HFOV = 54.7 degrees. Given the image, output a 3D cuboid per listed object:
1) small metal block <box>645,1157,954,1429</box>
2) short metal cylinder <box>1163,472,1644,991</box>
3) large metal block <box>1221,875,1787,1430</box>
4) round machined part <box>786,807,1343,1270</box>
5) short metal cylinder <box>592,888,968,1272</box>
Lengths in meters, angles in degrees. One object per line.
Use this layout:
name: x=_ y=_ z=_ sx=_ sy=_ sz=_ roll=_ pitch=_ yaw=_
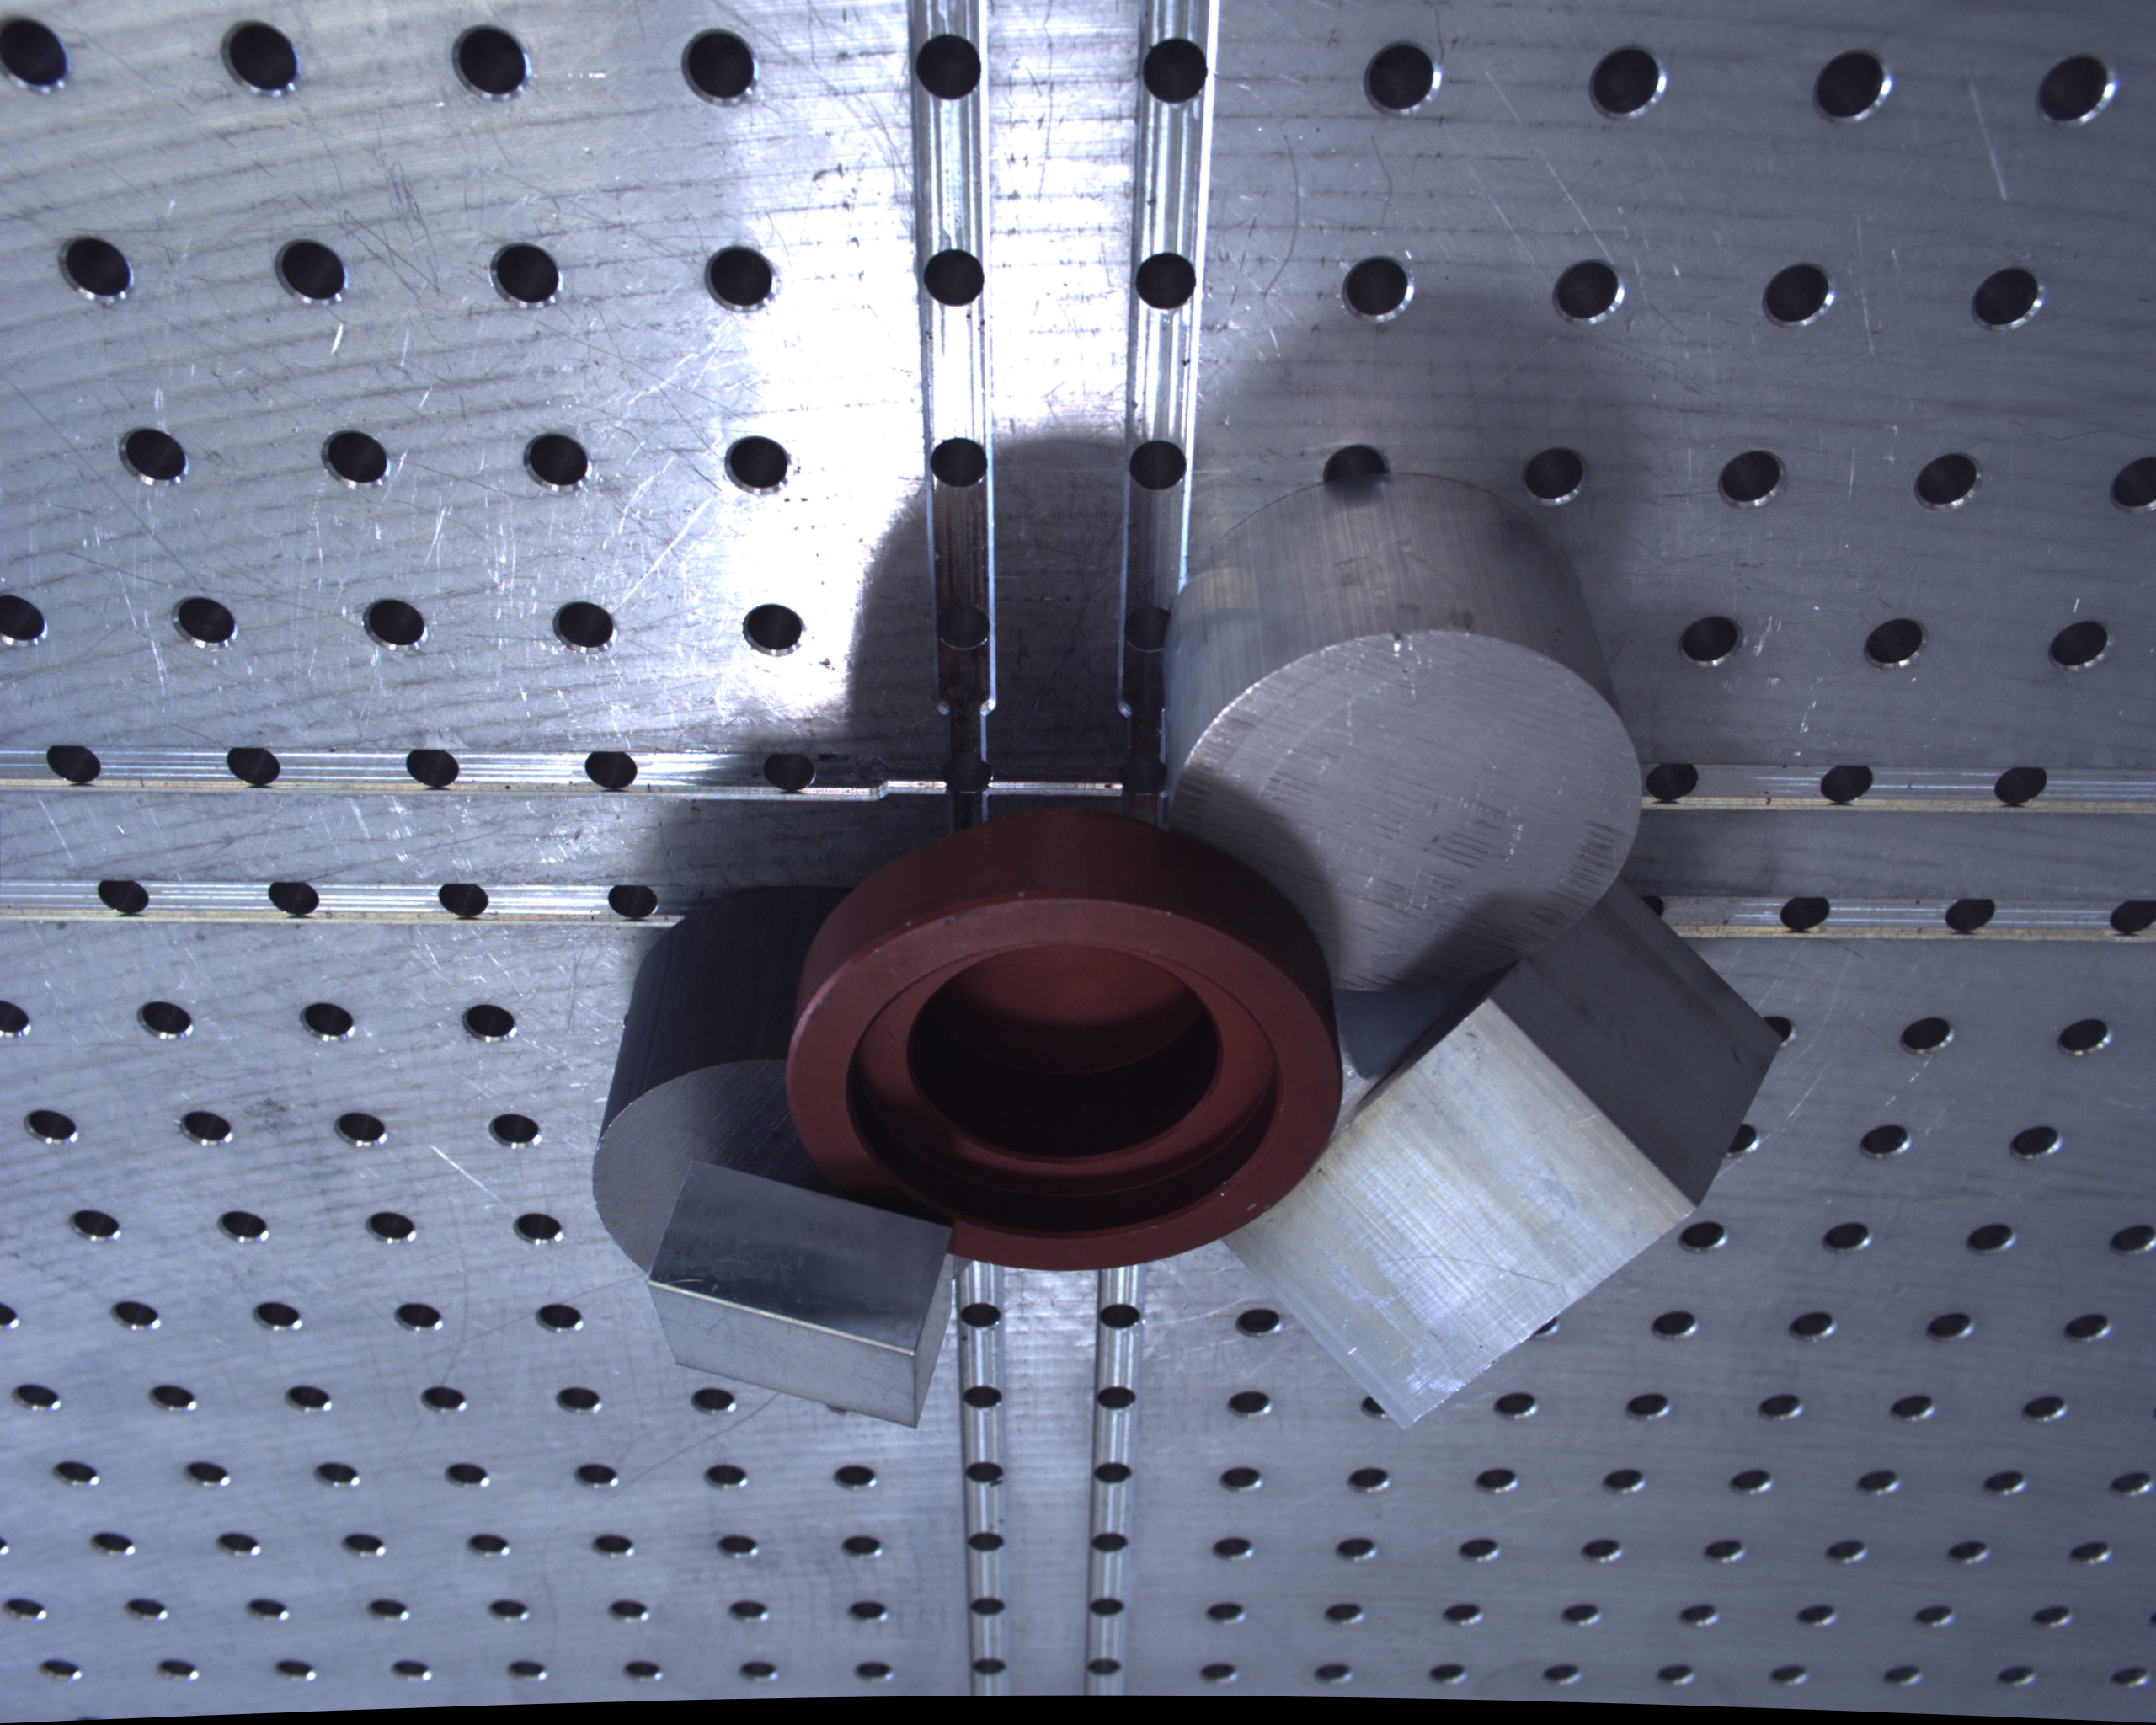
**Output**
small metal block: x=-0.052 y=0.083 z=0.400 sx=0.050 sy=0.025 sz=0.050 roll=14 pitch=149 yaw=4
short metal cylinder: x=0.056 y=-0.023 z=0.376 sx=0.081 sy=0.050 sz=0.079 roll=0 pitch=130 yaw=0
large metal block: x=0.085 y=0.053 z=0.413 sx=0.050 sy=0.080 sz=0.080 roll=46 pitch=122 yaw=7
round machined part: x=-0.002 y=0.028 z=0.386 sx=0.099 sy=0.042 sz=0.097 roll=0 pitch=130 yaw=0
short metal cylinder: x=-0.057 y=0.052 z=0.438 sx=0.081 sy=0.050 sz=0.079 roll=0 pitch=130 yaw=0
